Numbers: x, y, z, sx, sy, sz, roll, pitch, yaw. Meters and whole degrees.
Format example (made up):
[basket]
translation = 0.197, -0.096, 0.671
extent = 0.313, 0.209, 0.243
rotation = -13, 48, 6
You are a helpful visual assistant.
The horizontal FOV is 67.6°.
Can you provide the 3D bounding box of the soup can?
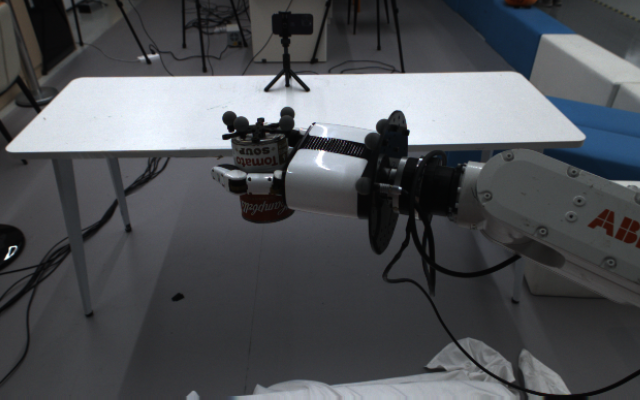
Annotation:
[soup can]
translation = -0.066, -0.032, 0.583
extent = 0.067, 0.101, 0.067
rotation = -4, 26, 2
